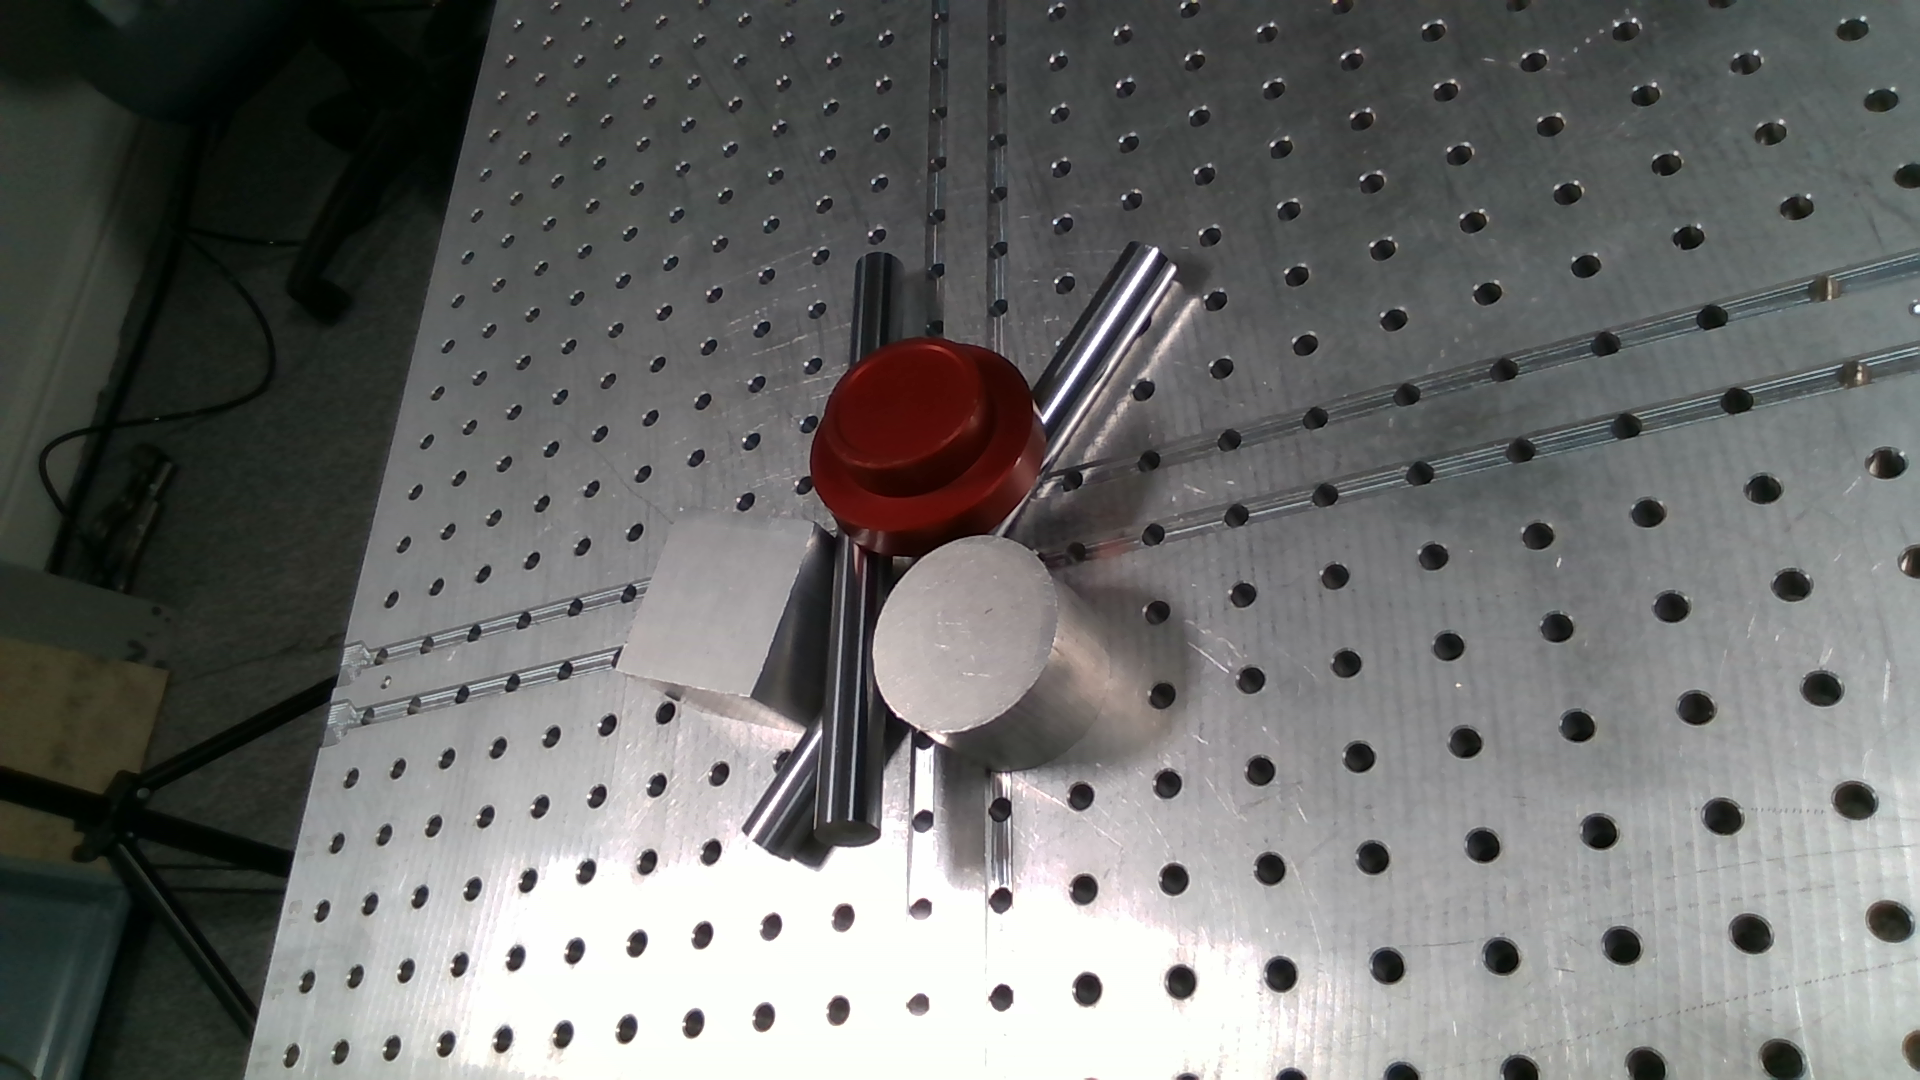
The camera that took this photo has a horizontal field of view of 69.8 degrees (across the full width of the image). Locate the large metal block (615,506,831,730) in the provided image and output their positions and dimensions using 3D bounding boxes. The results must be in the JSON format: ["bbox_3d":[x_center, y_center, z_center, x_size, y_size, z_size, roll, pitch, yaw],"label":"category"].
[{"bbox_3d":[-0.093,0.035,0.609,0.080,0.050,0.080,6,69,34],"label":"large metal block"}]

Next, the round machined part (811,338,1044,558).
[{"bbox_3d":[-0.017,-0.044,0.568,0.098,0.042,0.098,-11,54,16],"label":"round machined part"}]

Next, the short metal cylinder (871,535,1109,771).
[{"bbox_3d":[0.012,0.045,0.540,0.080,0.050,0.080,-14,59,25],"label":"short metal cylinder"}]

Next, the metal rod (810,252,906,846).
[{"bbox_3d":[-0.041,-0.013,0.597,0.025,0.025,0.299,-17,50,23],"label":"metal rod"}]

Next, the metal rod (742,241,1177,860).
[{"bbox_3d":[0.002,0.002,0.587,0.025,0.025,0.300,29,83,39],"label":"metal rod"}]
